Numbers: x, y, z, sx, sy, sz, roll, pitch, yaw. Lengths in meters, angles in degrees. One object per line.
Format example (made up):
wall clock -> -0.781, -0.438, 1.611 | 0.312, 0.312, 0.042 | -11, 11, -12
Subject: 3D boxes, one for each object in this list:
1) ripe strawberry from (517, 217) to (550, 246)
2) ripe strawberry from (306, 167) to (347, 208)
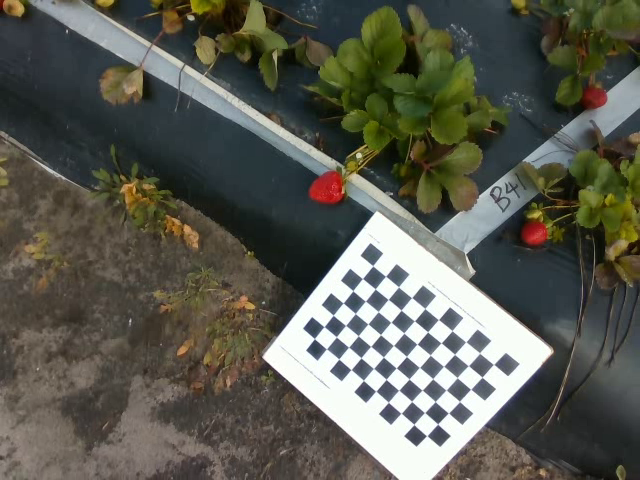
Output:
ripe strawberry -> 0.266, -0.005, 0.784 | 0.047, 0.037, 0.030 | -33, -7, -39
ripe strawberry -> 0.007, -0.066, 0.800 | 0.053, 0.048, 0.030 | -14, 3, -9
